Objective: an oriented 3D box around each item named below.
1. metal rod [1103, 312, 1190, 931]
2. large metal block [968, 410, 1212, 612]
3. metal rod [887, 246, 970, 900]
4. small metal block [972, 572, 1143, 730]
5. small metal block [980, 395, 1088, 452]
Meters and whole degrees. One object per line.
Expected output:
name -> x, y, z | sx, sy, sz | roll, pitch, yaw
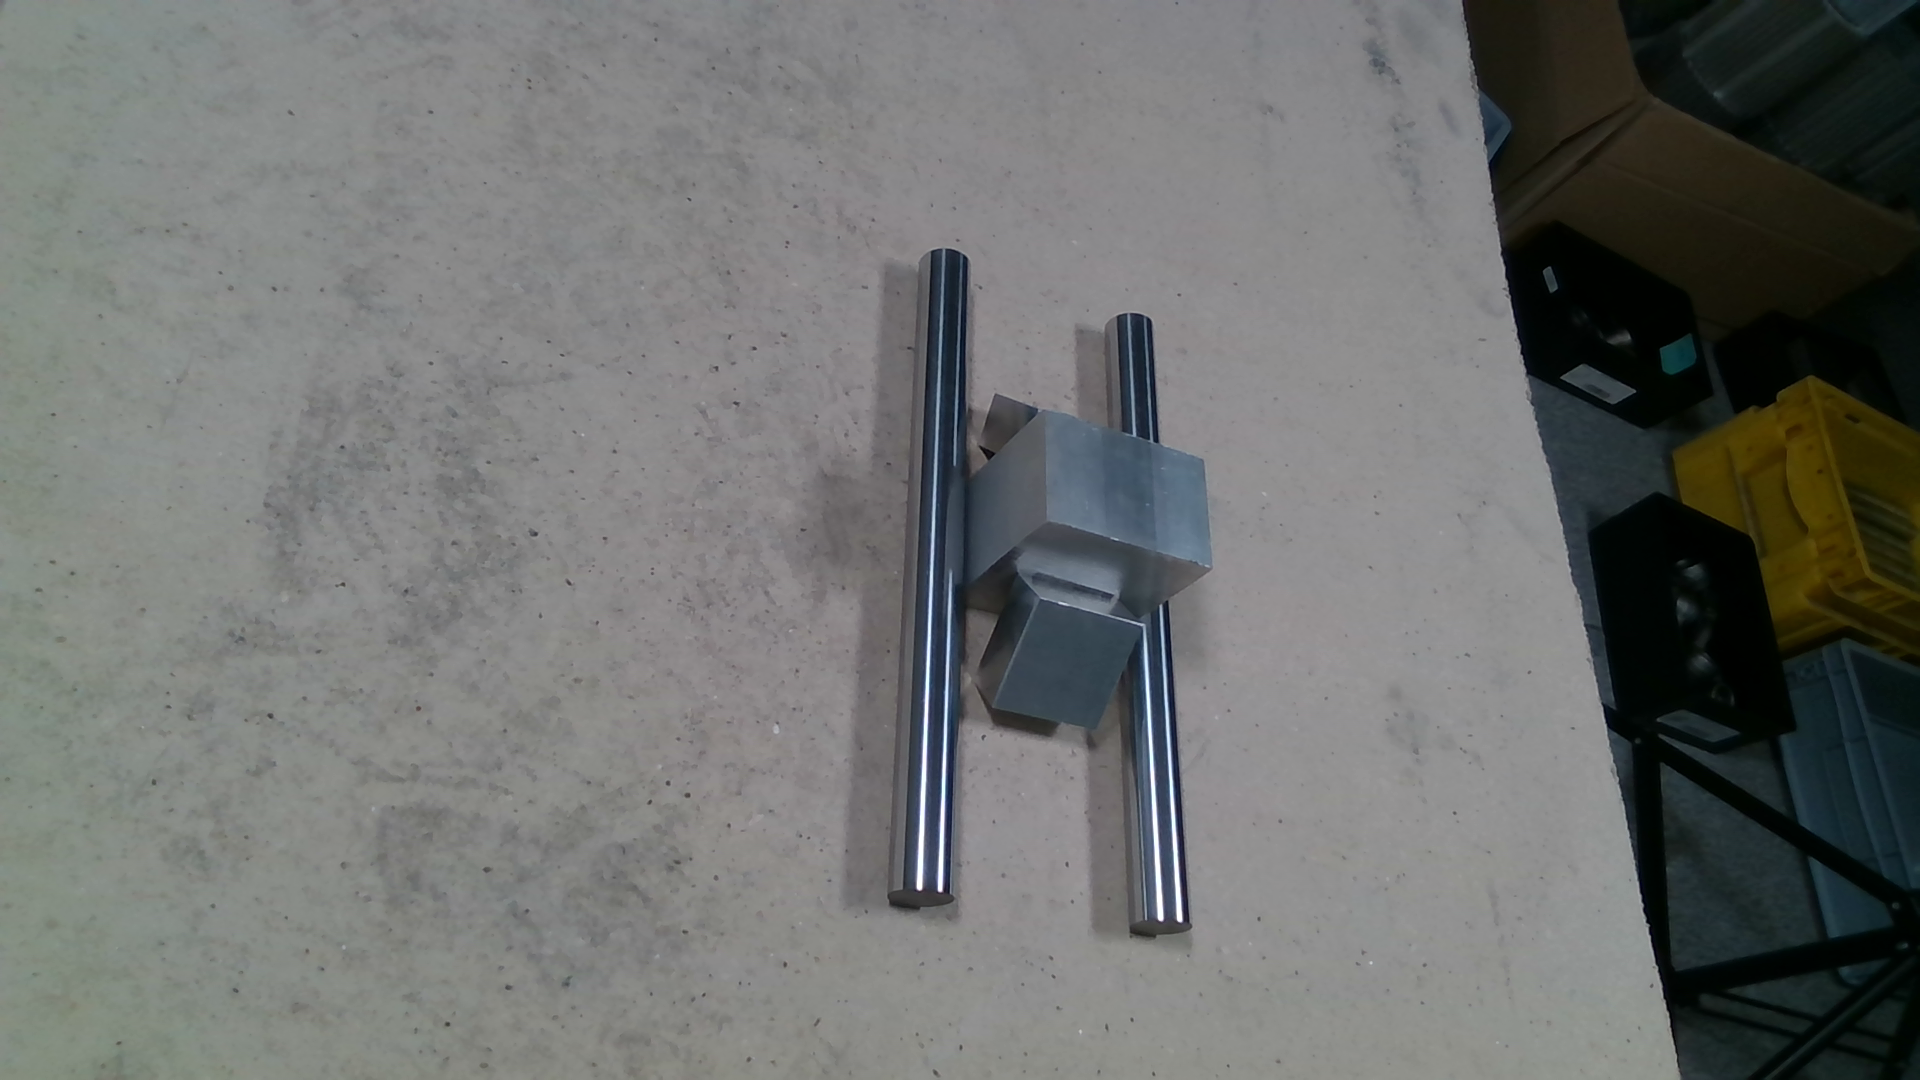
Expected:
metal rod -> 0.082, 0.023, 0.624 | 0.025, 0.025, 0.299 | 15, 58, -24
large metal block -> 0.048, -0.004, 0.585 | 0.080, 0.080, 0.050 | 15, 58, -24
metal rod -> -0.011, 0.000, 0.579 | 0.025, 0.025, 0.299 | 16, 58, -24
small metal block -> 0.040, 0.046, 0.568 | 0.050, 0.050, 0.025 | 15, 16, -25
small metal block -> 0.043, -0.044, 0.618 | 0.050, 0.050, 0.025 | 15, 97, -24
